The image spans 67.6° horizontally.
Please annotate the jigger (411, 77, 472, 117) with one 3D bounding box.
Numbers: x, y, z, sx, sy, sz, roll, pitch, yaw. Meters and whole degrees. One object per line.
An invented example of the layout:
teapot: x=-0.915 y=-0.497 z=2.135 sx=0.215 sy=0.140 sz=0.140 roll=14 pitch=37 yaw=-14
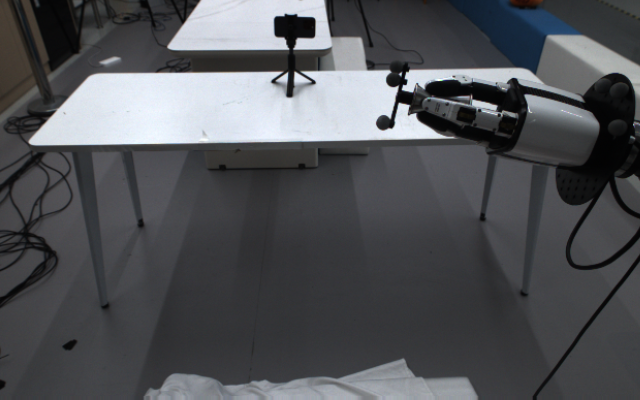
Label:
jigger: x=0.148 y=-0.120 z=0.592 sx=0.071 sy=0.043 sz=0.043 roll=14 pitch=36 yaw=4
